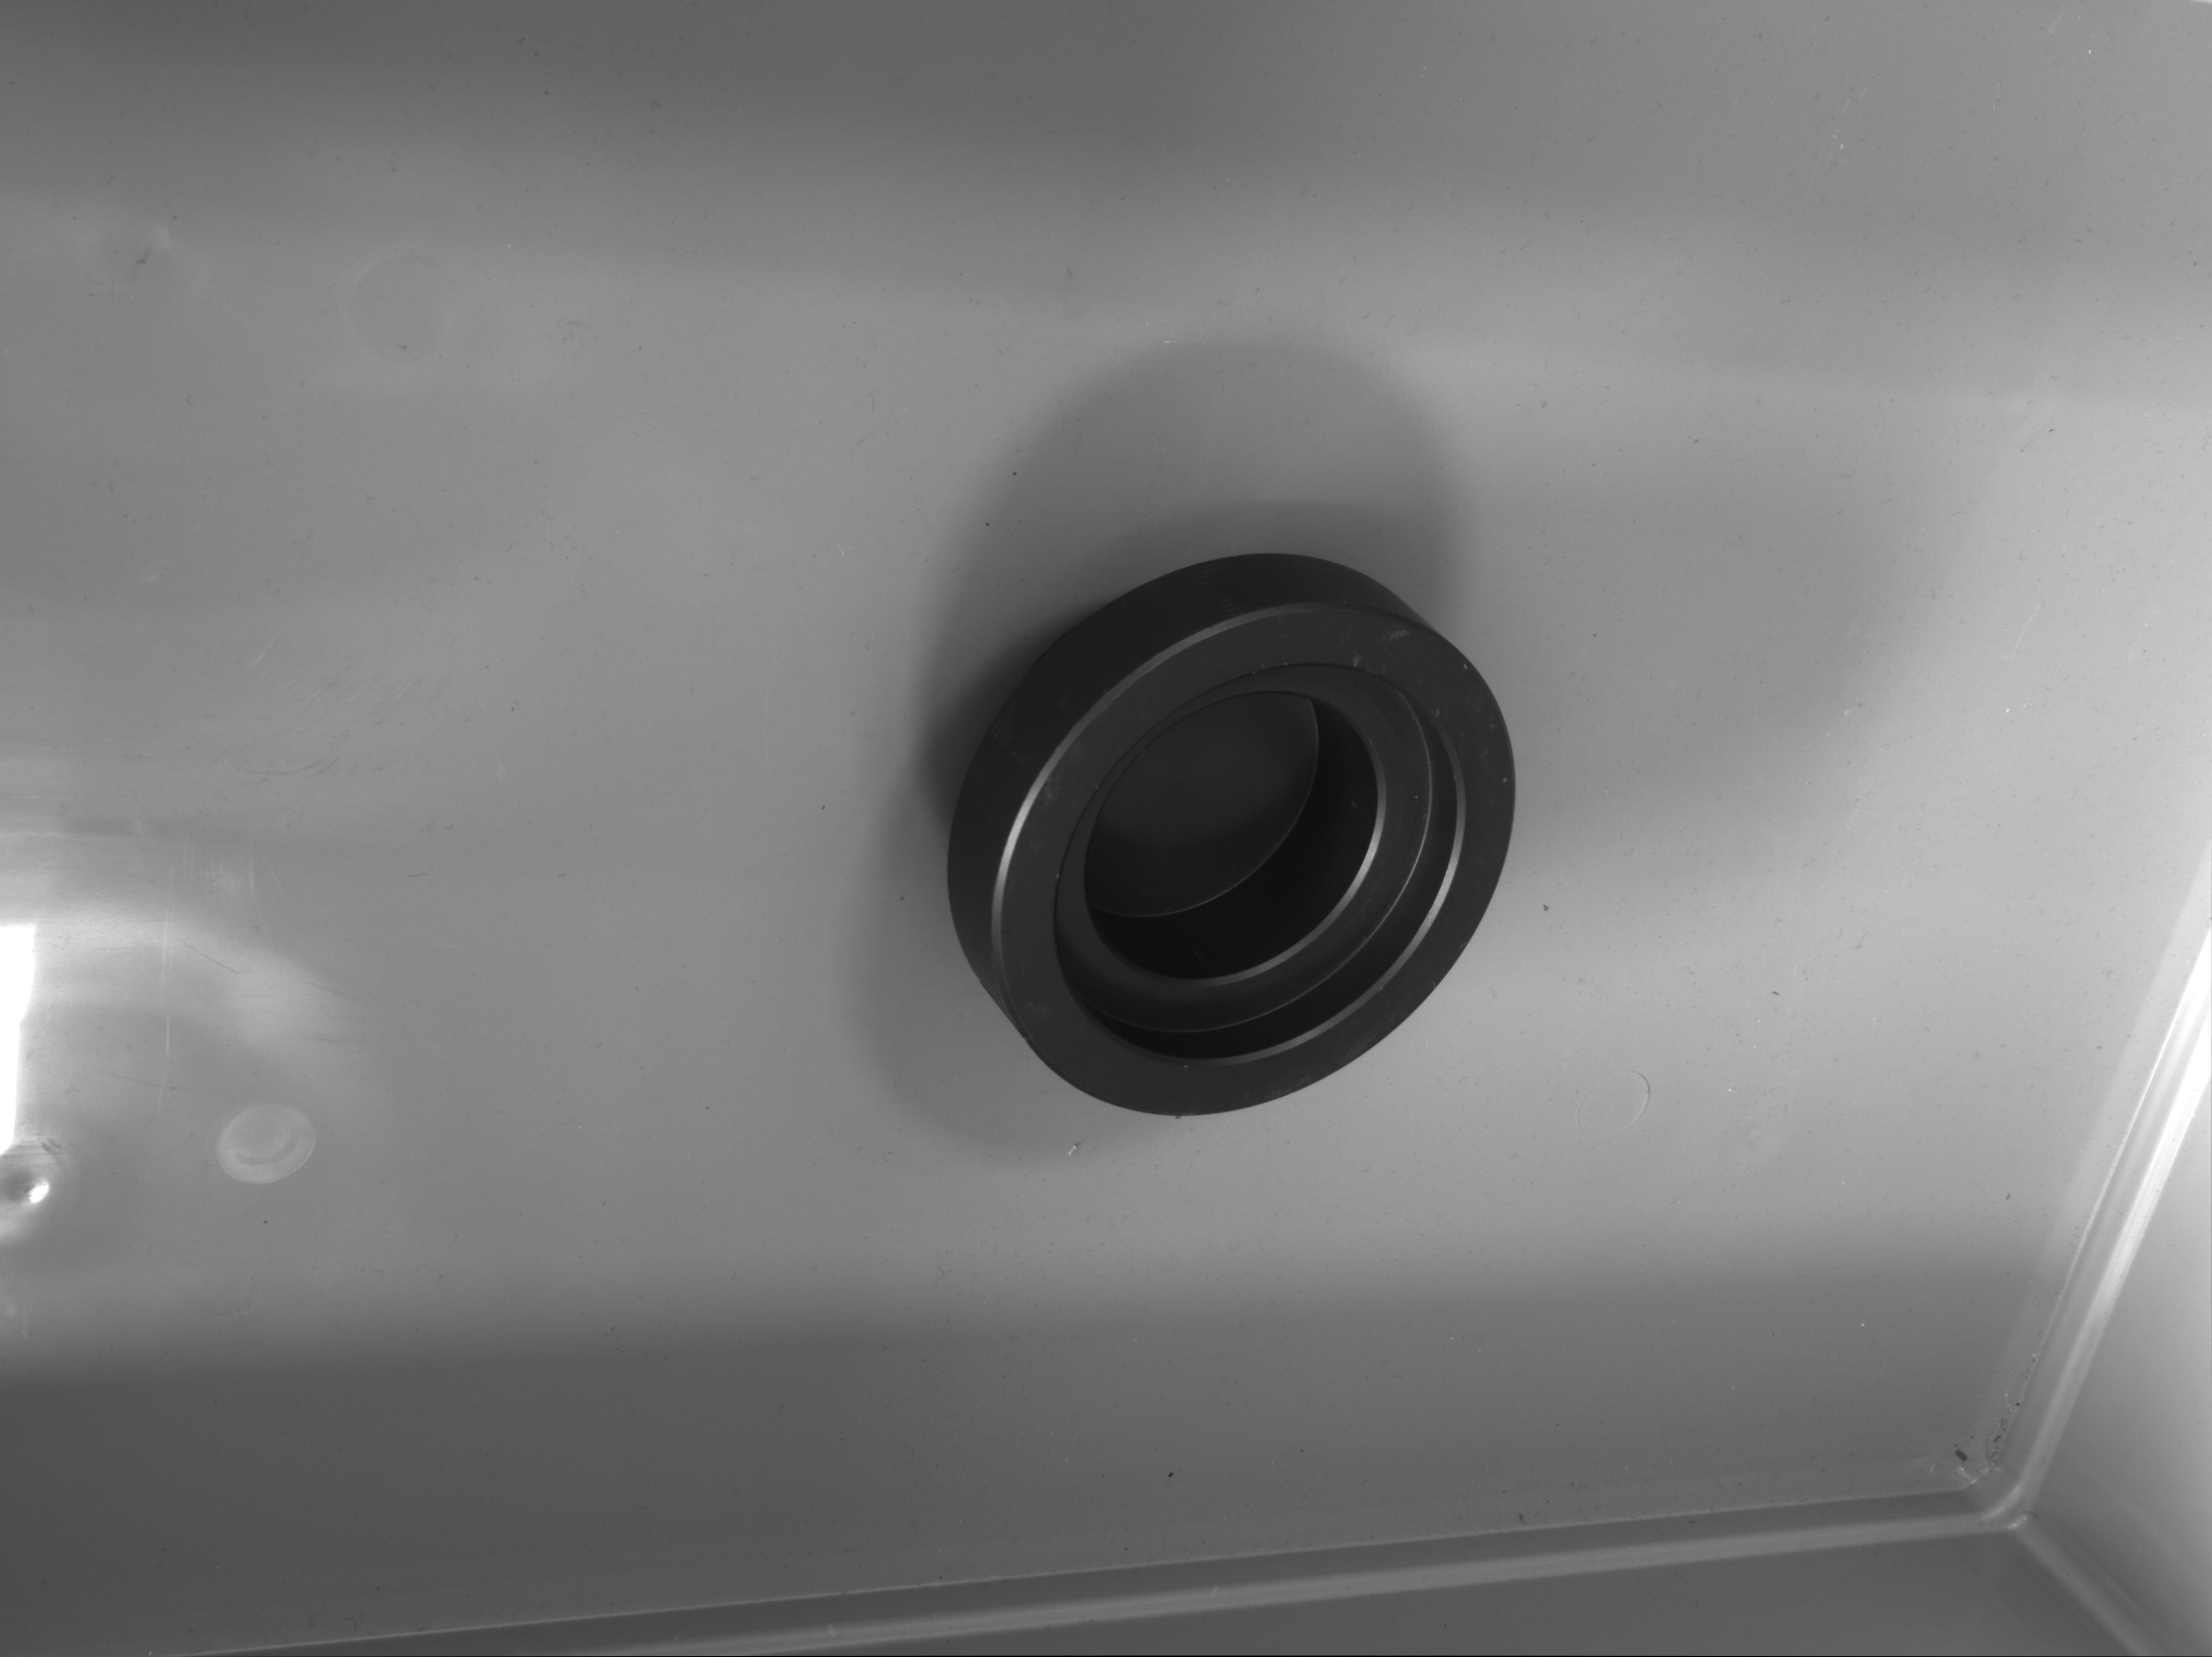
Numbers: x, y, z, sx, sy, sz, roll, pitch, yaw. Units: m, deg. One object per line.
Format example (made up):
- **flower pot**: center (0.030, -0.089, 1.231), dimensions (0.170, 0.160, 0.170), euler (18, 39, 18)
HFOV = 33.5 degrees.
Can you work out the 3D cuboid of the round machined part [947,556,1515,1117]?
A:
- **round machined part**: center (0.018, -0.003, 0.631), dimensions (0.098, 0.042, 0.098), euler (-13, 124, -21)
